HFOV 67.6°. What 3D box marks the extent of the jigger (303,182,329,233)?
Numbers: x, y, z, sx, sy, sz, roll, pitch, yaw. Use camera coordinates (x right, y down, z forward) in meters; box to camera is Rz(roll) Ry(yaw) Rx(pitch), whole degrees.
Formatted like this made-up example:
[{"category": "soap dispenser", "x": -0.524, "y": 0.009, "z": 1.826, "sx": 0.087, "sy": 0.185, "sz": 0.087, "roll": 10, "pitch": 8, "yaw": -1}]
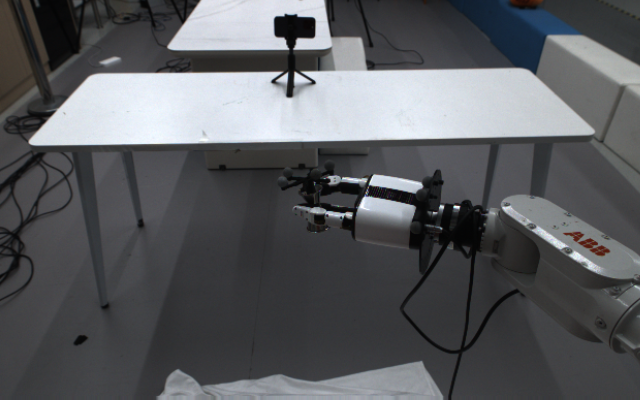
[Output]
[{"category": "jigger", "x": -0.008, "y": 0.012, "z": 0.782, "sx": 0.043, "sy": 0.071, "sz": 0.043, "roll": -11, "pitch": 24, "yaw": 5}]
